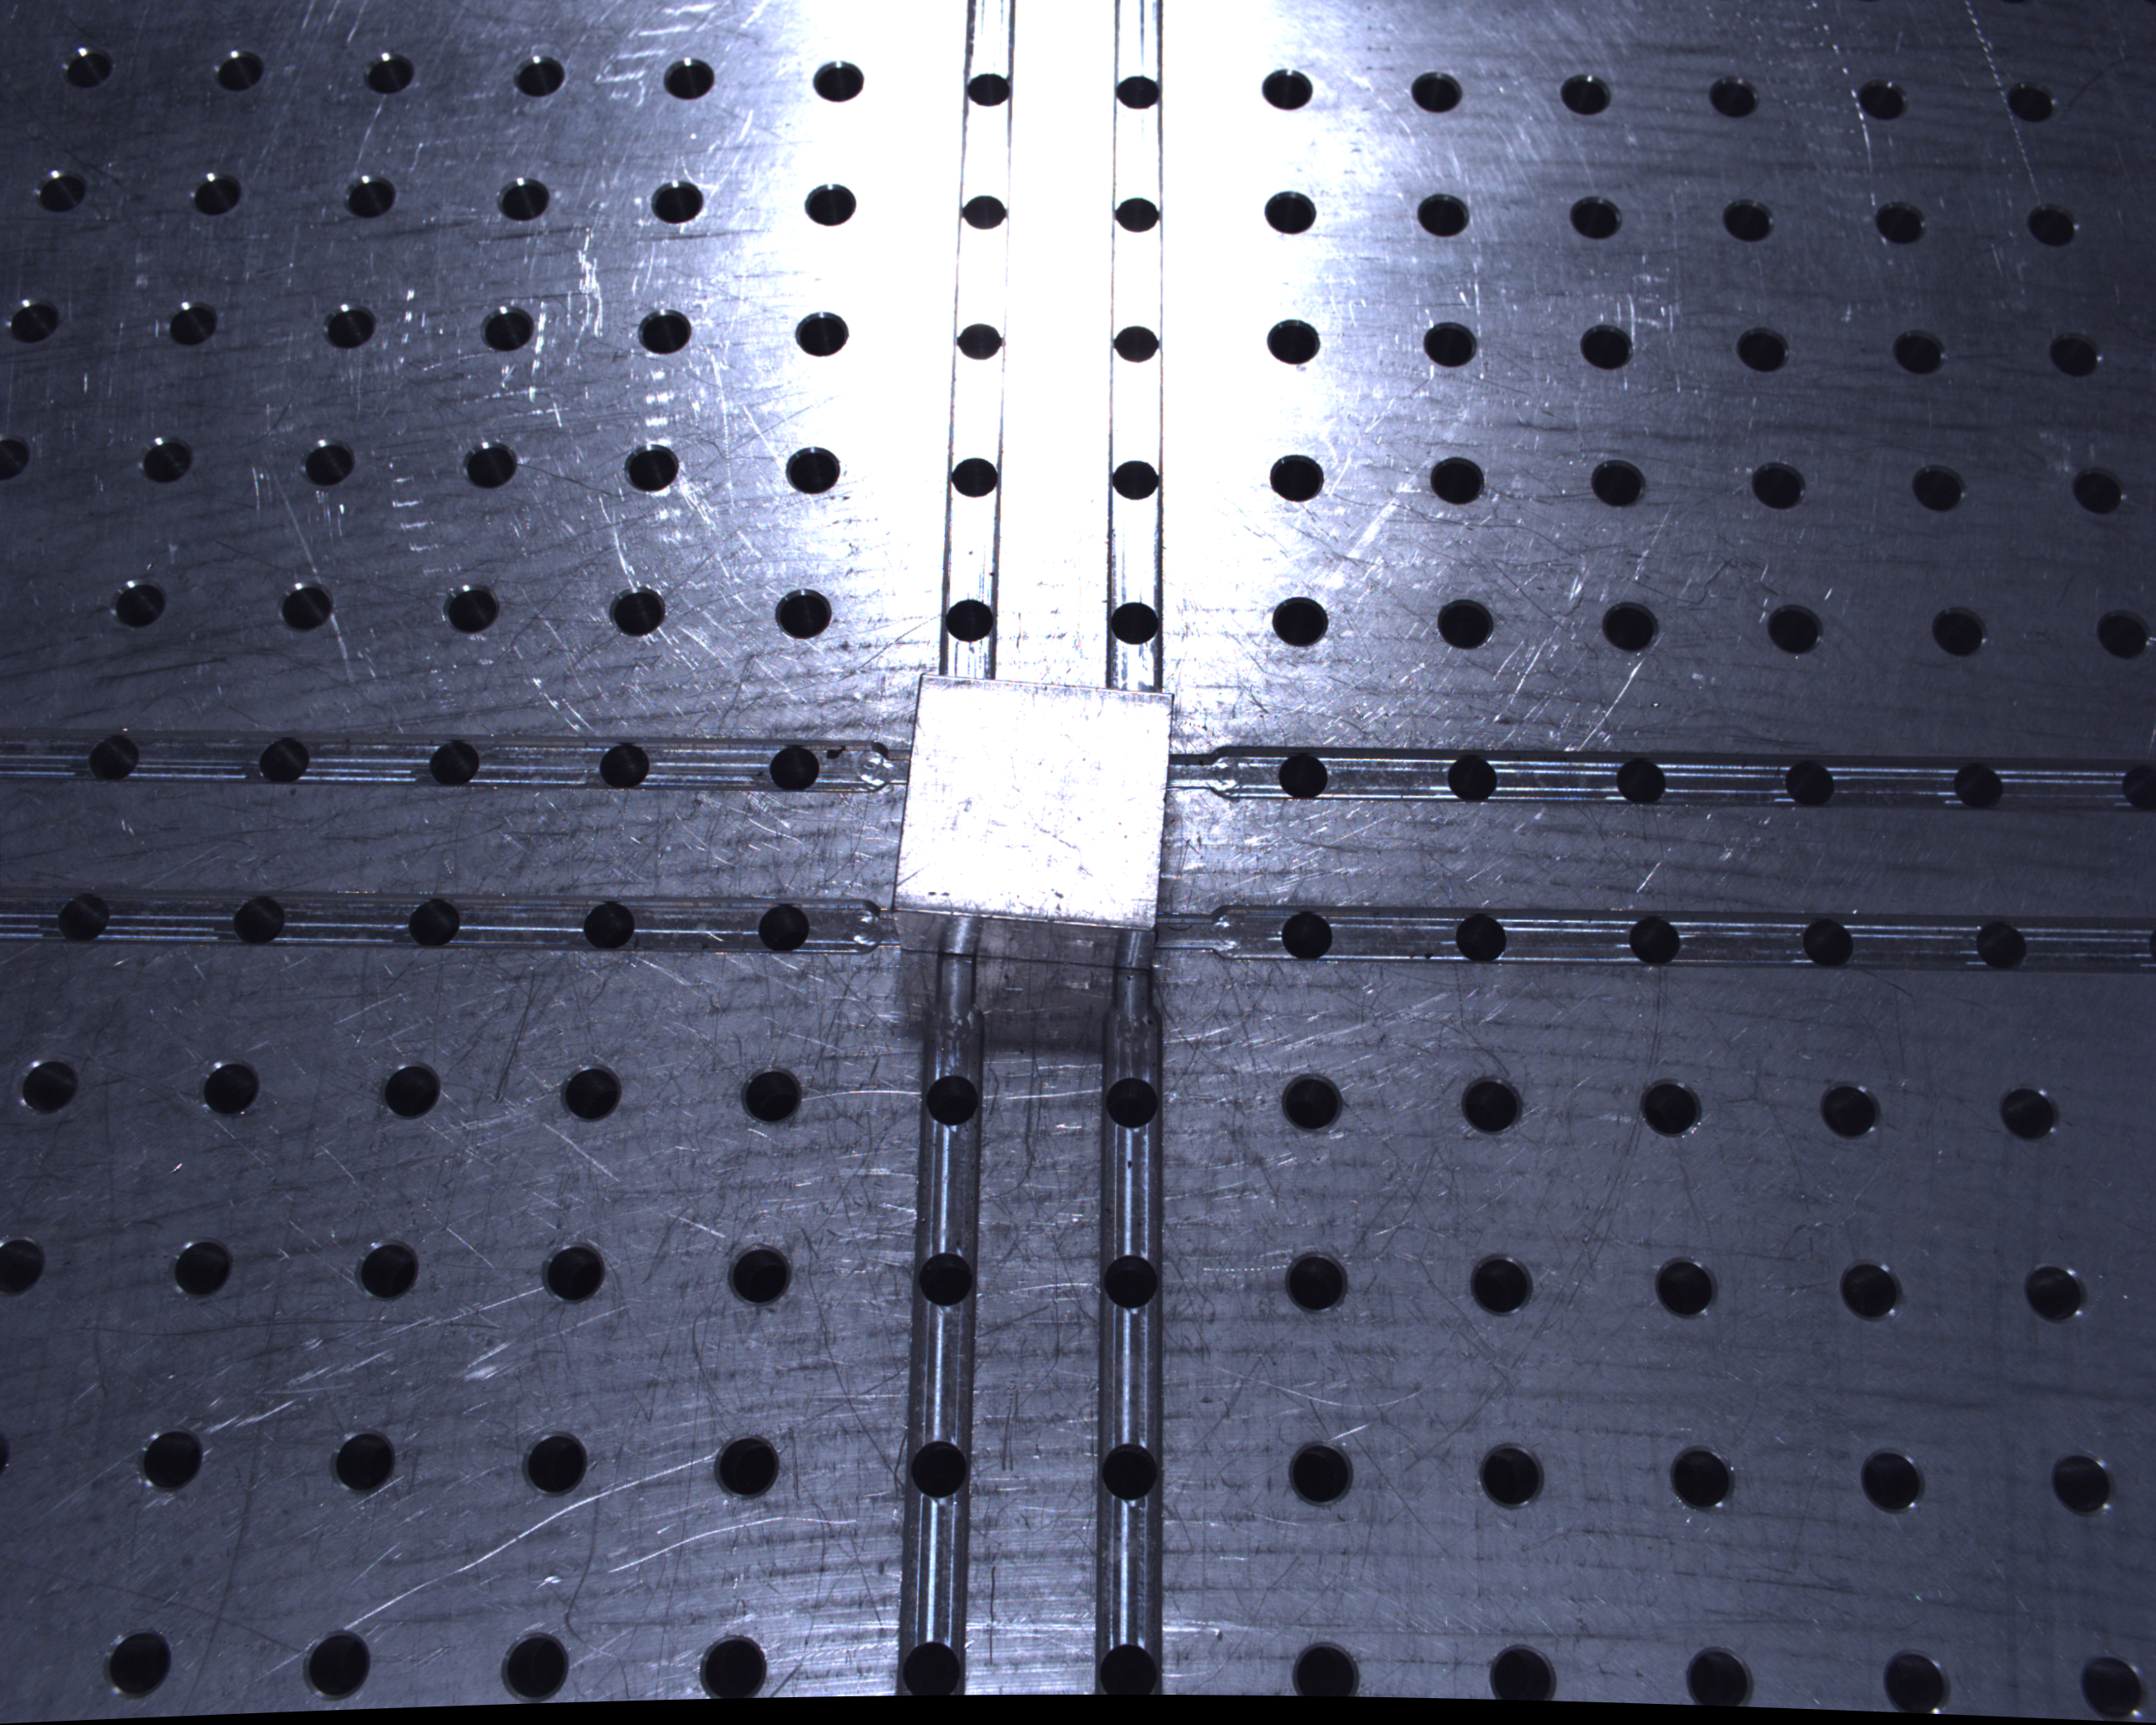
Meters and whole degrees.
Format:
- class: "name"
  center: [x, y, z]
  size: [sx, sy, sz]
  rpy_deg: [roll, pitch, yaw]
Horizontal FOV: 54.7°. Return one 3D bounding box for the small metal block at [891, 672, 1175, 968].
- class: "small metal block"
  center: [-0.008, -0.008, 0.414]
  size: [0.050, 0.025, 0.050]
  rpy_deg: [5, 70, 1]
